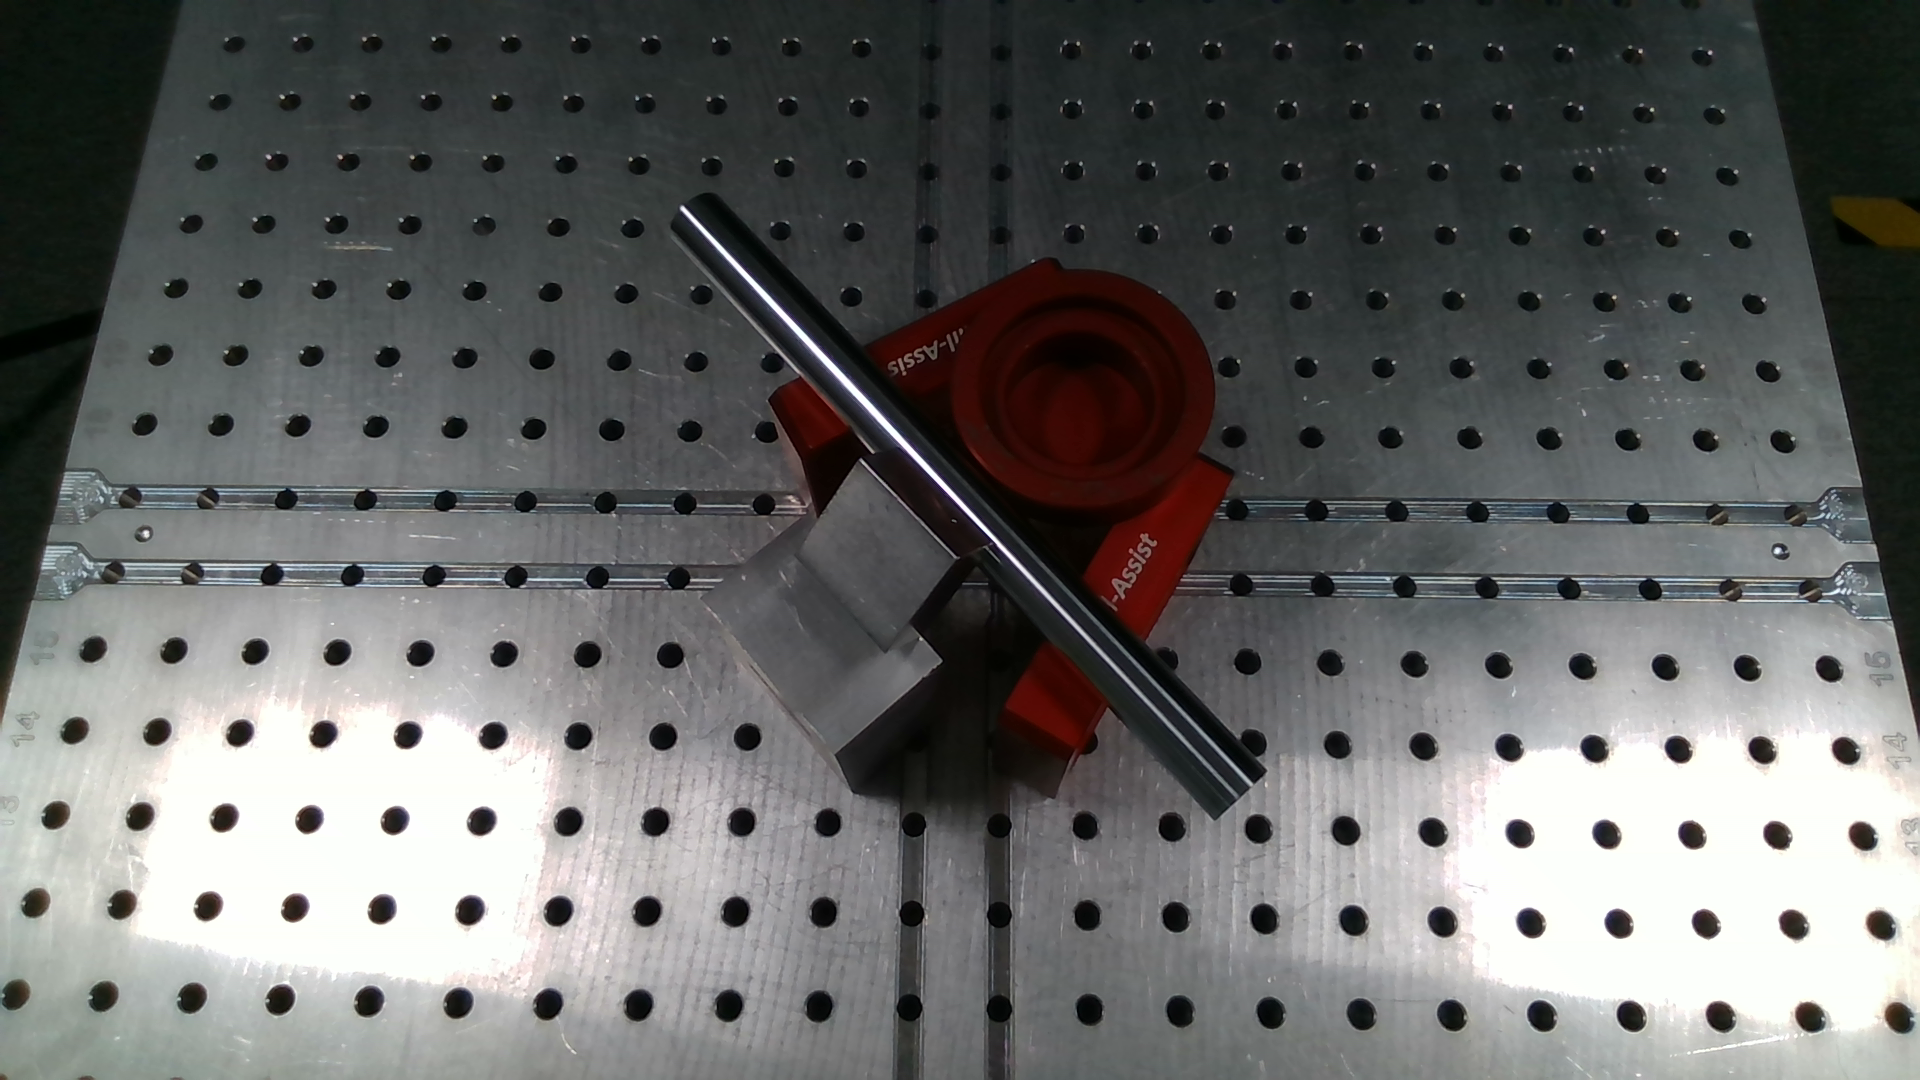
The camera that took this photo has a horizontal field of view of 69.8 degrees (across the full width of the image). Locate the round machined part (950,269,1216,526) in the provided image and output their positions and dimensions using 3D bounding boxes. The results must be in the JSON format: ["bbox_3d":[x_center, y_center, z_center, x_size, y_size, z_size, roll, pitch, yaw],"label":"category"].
[{"bbox_3d":[0.045,-0.050,0.526,0.098,0.042,0.098,0,70,0],"label":"round machined part"}]

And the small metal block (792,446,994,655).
[{"bbox_3d":[-0.024,0.003,0.489,0.050,0.050,0.025,45,32,14],"label":"small metal block"}]

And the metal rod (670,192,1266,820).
[{"bbox_3d":[-0.005,-0.020,0.502,0.025,0.025,0.300,-39,75,-13],"label":"metal rod"}]

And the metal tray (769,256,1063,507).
[{"bbox_3d":[-0.010,-0.059,0.577,0.130,0.090,0.030,-28,72,-9],"label":"metal tray"}]

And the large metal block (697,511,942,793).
[{"bbox_3d":[-0.052,0.046,0.541,0.050,0.080,0.080,-40,75,-13],"label":"large metal block"}]

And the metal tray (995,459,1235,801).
[{"bbox_3d":[0.059,0.033,0.543,0.030,0.090,0.130,30,73,11],"label":"metal tray"}]
